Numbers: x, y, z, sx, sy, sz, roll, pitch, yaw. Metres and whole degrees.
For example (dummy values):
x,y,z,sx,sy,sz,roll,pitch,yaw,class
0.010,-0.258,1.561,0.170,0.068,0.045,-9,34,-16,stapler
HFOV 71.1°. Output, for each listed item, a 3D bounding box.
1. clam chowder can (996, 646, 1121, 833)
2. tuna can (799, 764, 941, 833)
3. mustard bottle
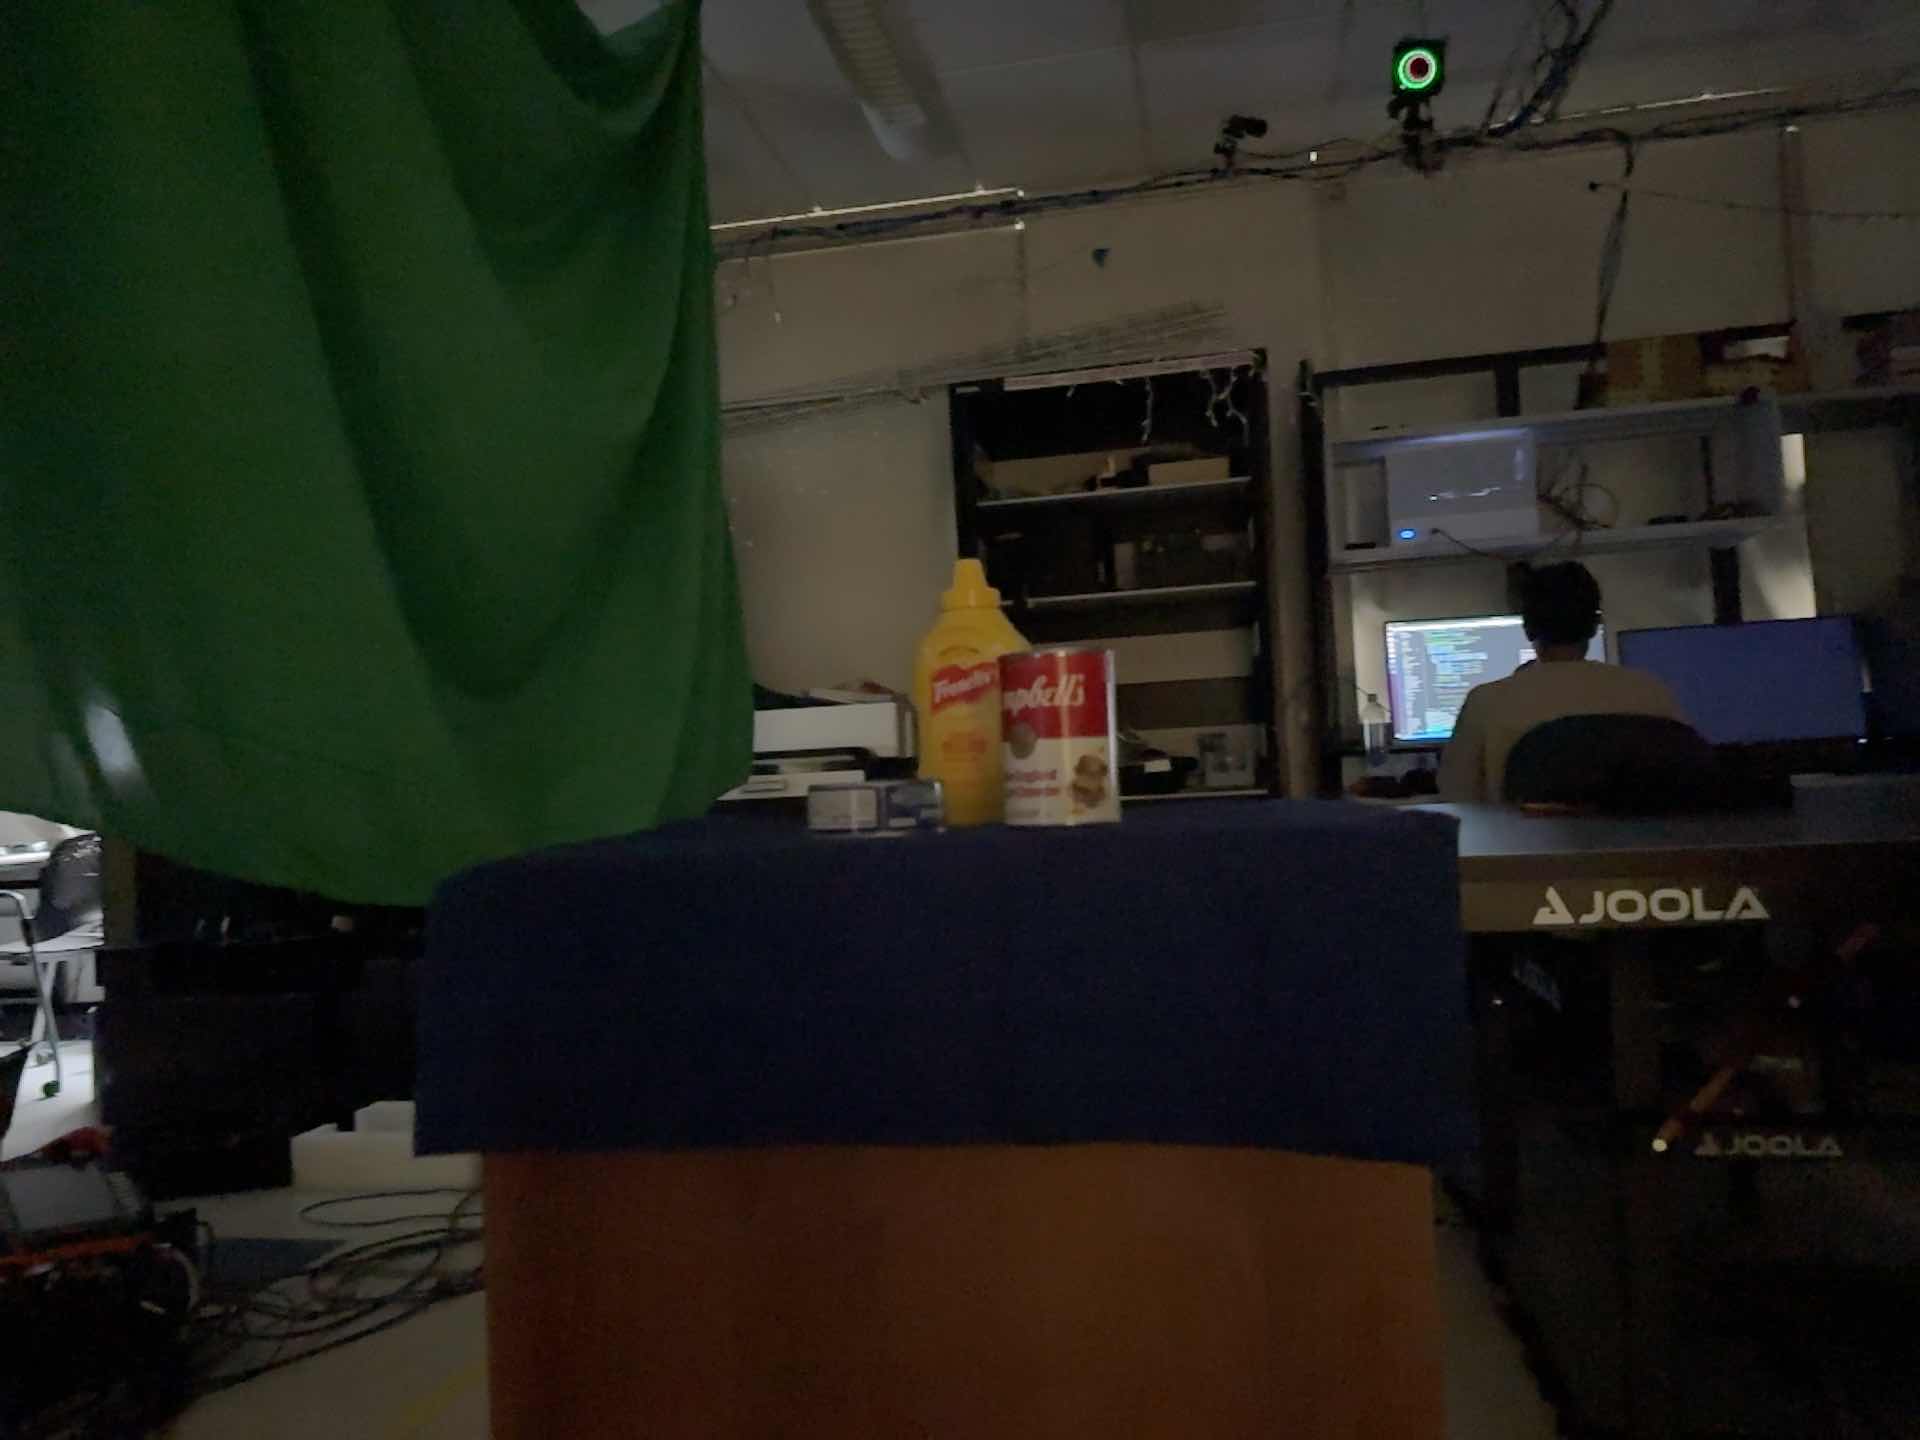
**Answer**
x,y,z,sx,sy,sz,roll,pitch,yaw,class
0.056,0.011,0.767,0.068,0.102,0.068,-3,1,0,clam chowder can
-0.055,0.046,0.809,0.083,0.034,0.083,-3,1,0,tuna can
0.008,-0.012,0.879,0.092,0.184,0.054,-2,2,26,mustard bottle
